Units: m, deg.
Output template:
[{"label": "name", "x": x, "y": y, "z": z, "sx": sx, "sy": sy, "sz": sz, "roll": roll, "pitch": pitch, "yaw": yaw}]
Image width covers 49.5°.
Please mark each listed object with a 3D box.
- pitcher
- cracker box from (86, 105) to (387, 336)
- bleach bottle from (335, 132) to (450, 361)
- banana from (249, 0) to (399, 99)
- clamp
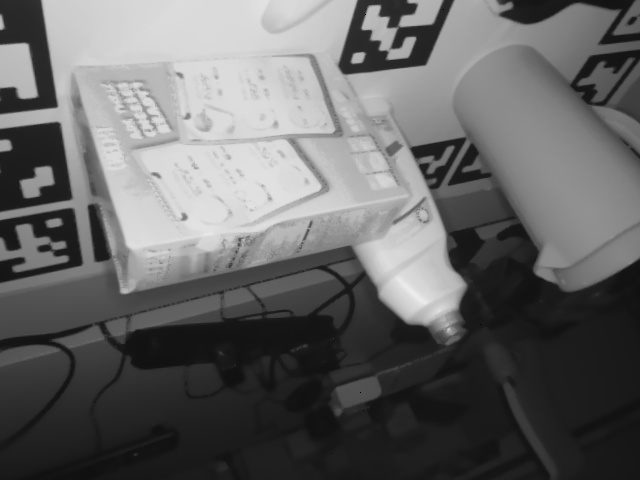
[{"label": "pitcher", "x": 0.255, "y": -0.044, "z": 0.728, "sx": 0.189, "sy": 0.243, "sz": 0.133, "roll": -21, "pitch": 151, "yaw": -1}, {"label": "cracker box", "x": -0.074, "y": -0.023, "z": 0.606, "sx": 0.216, "sy": 0.164, "sz": 0.071, "roll": -14, "pitch": 152, "yaw": -22}, {"label": "bleach bottle", "x": 0.069, "y": 0.006, "z": 0.706, "sx": 0.104, "sy": 0.251, "sz": 0.067, "roll": -14, "pitch": 150, "yaw": -19}, {"label": "banana", "x": 0.015, "y": -0.184, "z": 0.587, "sx": 0.196, "sy": 0.039, "sz": 0.074, "roll": -31, "pitch": 151, "yaw": 10}, {"label": "clamp", "x": 0.218, "y": -0.214, "z": 0.678, "sx": 0.166, "sy": 0.036, "sz": 0.121, "roll": -21, "pitch": 152, "yaw": -4}]
